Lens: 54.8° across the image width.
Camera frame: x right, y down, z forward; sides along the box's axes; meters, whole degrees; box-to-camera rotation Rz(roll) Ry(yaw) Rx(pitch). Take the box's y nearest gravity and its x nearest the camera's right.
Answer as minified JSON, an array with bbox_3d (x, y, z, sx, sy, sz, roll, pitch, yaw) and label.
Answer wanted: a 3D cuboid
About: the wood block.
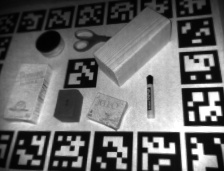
[{"bbox_3d":[0.059,-0.110,0.614,0.206,0.092,0.089,-44,64,-8],"label":"wood block"}]

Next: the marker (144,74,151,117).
[{"bbox_3d":[0.096,0.024,0.583,0.019,0.020,0.121,-1,70,14],"label":"marker"}]

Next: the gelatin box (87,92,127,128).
[{"bbox_3d":[-0.013,0.065,0.587,0.088,0.030,0.073,16,73,19],"label":"gelatin box"}]

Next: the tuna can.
[{"bbox_3d":[-0.215,-0.138,0.715,0.085,0.034,0.085,-5,67,12],"label":"tuna can"}]

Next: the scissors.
[{"bbox_3d":[-0.044,-0.150,0.693,0.201,0.016,0.087,4,69,17],"label":"scissors"}]

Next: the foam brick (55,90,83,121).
[{"bbox_3d":[-0.117,0.056,0.599,0.052,0.052,0.078,-1,68,14],"label":"foam brick"}]

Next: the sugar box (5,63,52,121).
[{"bbox_3d":[-0.249,0.018,0.655,0.092,0.046,0.176,2,68,13],"label":"sugar box"}]
